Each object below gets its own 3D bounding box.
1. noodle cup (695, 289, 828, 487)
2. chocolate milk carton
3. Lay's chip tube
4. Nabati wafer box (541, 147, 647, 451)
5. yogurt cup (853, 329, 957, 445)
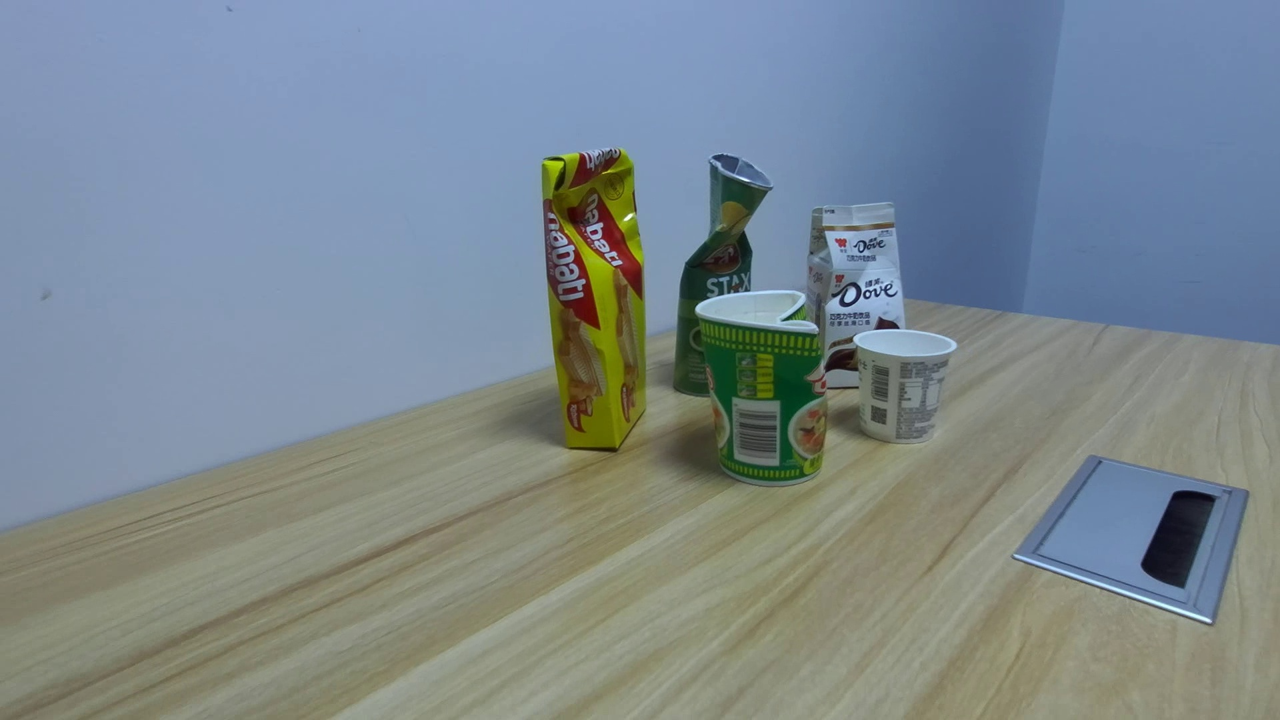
[{"bbox_3d":[0.082,0.017,0.455,0.086,0.109,0.094,7,20,28],"label":"noodle cup"},{"bbox_3d":[0.192,-0.059,0.620,0.084,0.155,0.073,-2,18,0],"label":"chocolate milk carton"},{"bbox_3d":[0.071,-0.068,0.598,0.071,0.199,0.079,14,24,25],"label":"Lay's chip tube"},{"bbox_3d":[-0.028,-0.045,0.513,0.042,0.205,0.113,1,18,16],"label":"Nabati wafer box"},{"bbox_3d":[0.187,0.019,0.510,0.072,0.068,0.072,-2,18,1],"label":"yogurt cup"}]
